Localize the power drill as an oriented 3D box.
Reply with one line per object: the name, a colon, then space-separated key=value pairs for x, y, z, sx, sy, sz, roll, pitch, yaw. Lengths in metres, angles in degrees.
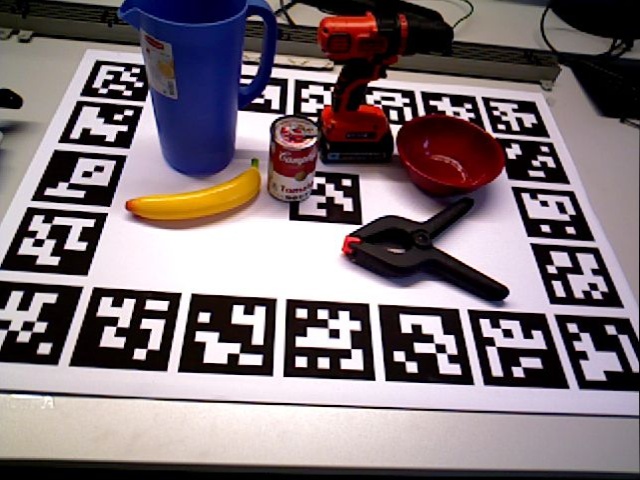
power drill: x=0.088 y=-0.223 z=0.744 sx=0.183 sy=0.191 sz=0.056 roll=0 pitch=51 yaw=-9

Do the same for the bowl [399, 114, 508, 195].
bowl: x=0.187 y=-0.118 z=0.784 sx=0.160 sy=0.056 sz=0.159 roll=3 pitch=53 yaw=-5

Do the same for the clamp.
clamp: x=0.133 y=0.003 z=0.684 sx=0.201 sy=0.037 sz=0.163 roll=1 pitch=56 yaw=-7

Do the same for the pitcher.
pitcher: x=-0.145 y=-0.214 z=0.694 sx=0.186 sy=0.248 sz=0.132 roll=-17 pitch=52 yaw=-20

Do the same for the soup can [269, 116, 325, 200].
soup can: x=-0.033 y=-0.114 z=0.723 sx=0.067 sy=0.104 sz=0.067 roll=4 pitch=43 yaw=-4

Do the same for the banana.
banana: x=-0.158 y=-0.061 z=0.707 sx=0.194 sy=0.040 sz=0.074 roll=-17 pitch=47 yaw=-22
